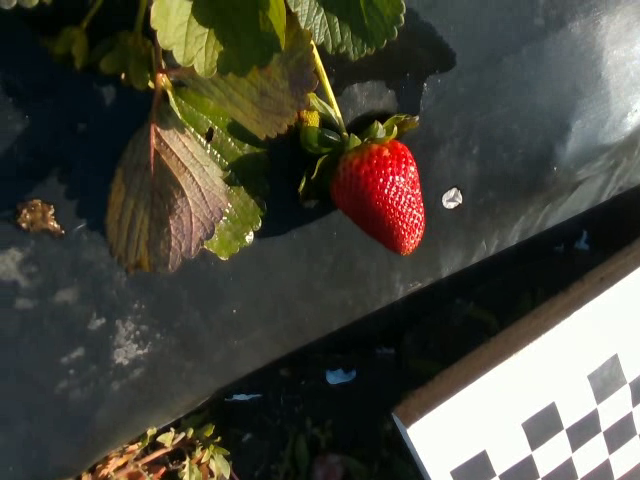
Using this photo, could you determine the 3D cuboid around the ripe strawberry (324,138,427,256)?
[{"bbox_3d":[0.027,-0.017,0.243,0.045,0.055,0.042,-26,-6,-17],"label":"ripe strawberry"}]
